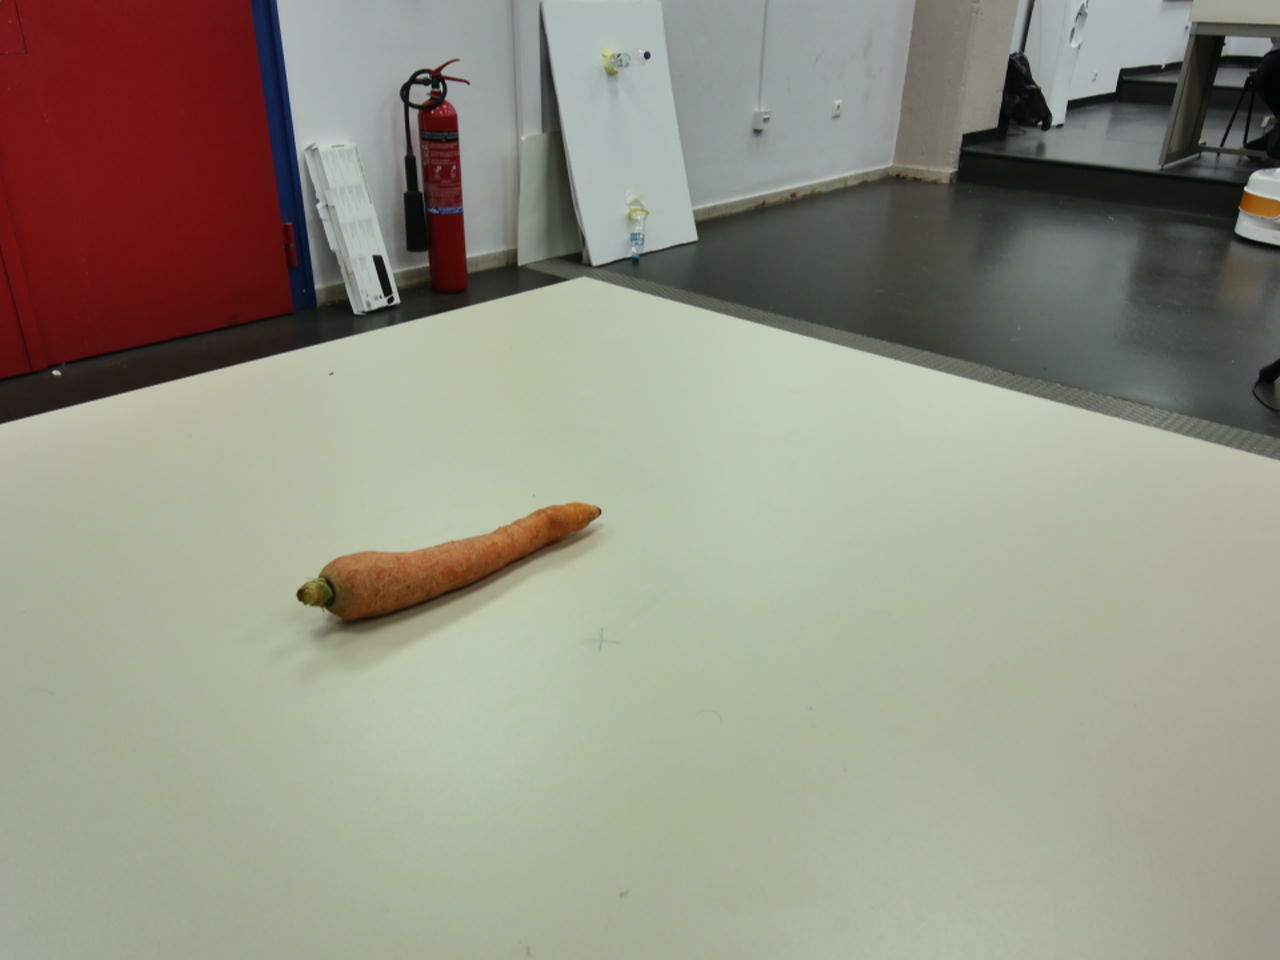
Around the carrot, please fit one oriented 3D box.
[{"bbox_3d":[-0.085,0.035,0.490,0.173,0.032,0.030,-19,31,-36],"label":"carrot"}]
